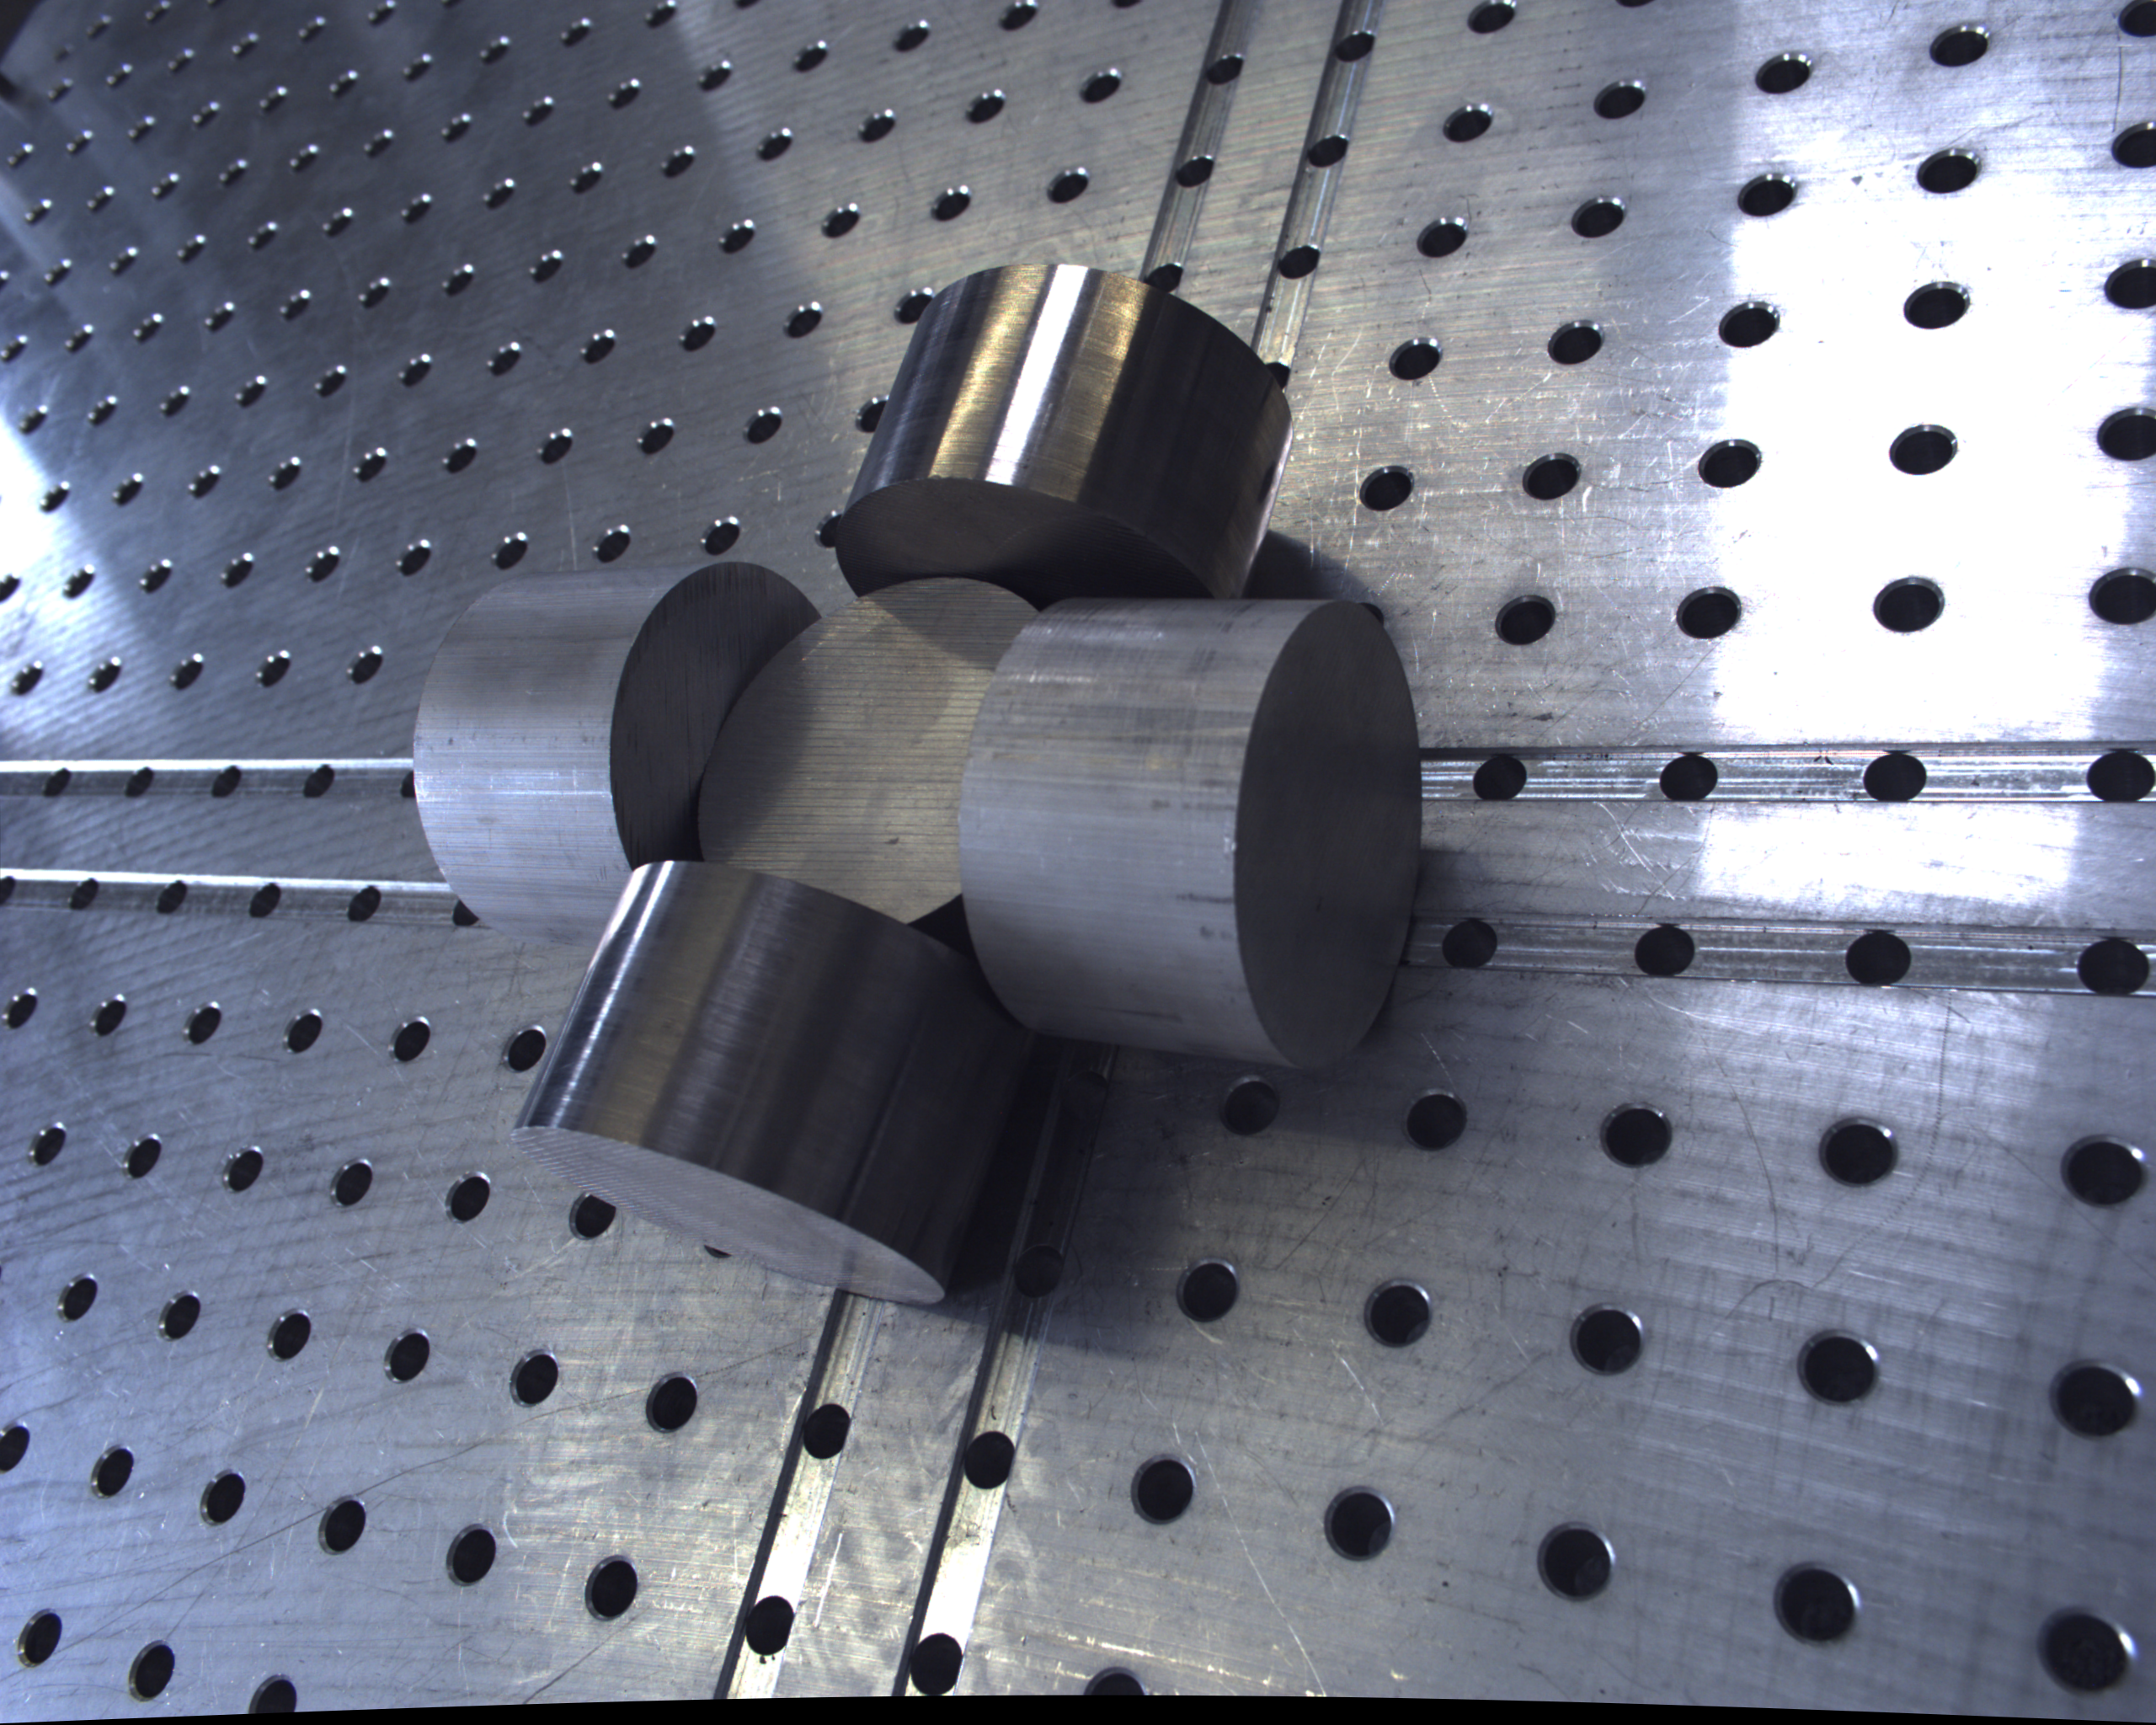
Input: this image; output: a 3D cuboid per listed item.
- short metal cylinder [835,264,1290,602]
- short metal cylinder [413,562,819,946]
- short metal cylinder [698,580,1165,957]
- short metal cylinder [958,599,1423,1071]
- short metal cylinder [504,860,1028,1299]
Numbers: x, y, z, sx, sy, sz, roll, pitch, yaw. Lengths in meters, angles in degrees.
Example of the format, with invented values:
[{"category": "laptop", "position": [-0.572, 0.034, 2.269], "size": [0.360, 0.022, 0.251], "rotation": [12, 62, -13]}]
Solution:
[{"category": "short metal cylinder", "position": [-0.002, -0.073, 0.419], "size": [0.080, 0.080, 0.050], "rotation": [3, 63, 29]}, {"category": "short metal cylinder", "position": [-0.089, -0.021, 0.433], "size": [0.050, 0.080, 0.080], "rotation": [2, 63, 28]}, {"category": "short metal cylinder", "position": [-0.027, -0.009, 0.412], "size": [0.080, 0.050, 0.080], "rotation": [-12, 57, 20]}, {"category": "short metal cylinder", "position": [0.022, -0.006, 0.365], "size": [0.050, 0.080, 0.080], "rotation": [4, 64, 30]}, {"category": "short metal cylinder", "position": [-0.054, 0.041, 0.375], "size": [0.080, 0.080, 0.050], "rotation": [6, 65, 31]}]
